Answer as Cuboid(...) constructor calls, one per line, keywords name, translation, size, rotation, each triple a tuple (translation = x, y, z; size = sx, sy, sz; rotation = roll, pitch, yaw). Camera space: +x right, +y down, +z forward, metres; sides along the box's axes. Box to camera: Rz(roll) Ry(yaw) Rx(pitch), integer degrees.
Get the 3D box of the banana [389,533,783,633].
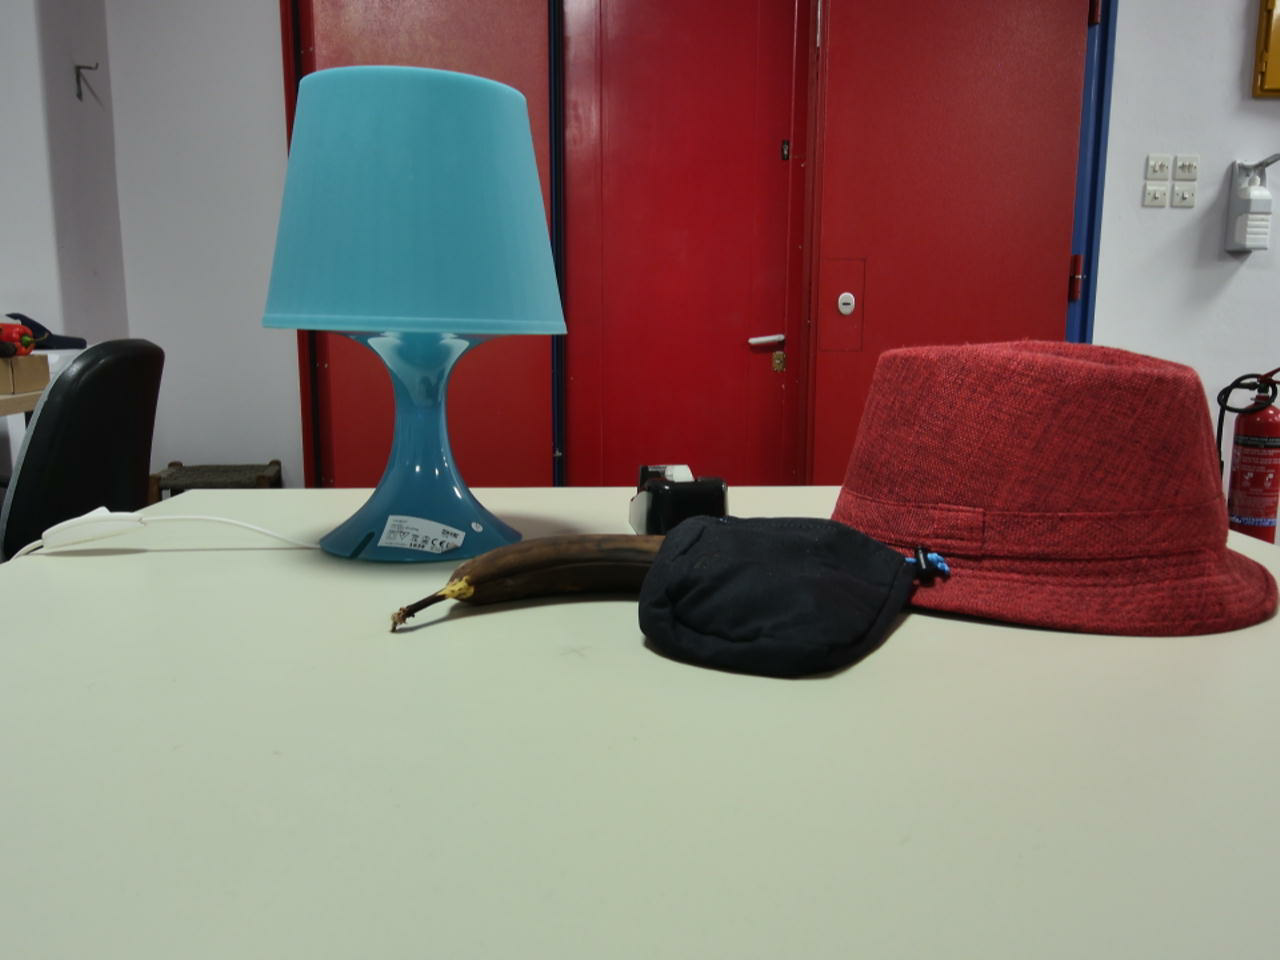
Cuboid(name="banana", translation=(-0.024, 0.049, 0.515), size=(0.188, 0.033, 0.091), rotation=(0, 6, 1))
